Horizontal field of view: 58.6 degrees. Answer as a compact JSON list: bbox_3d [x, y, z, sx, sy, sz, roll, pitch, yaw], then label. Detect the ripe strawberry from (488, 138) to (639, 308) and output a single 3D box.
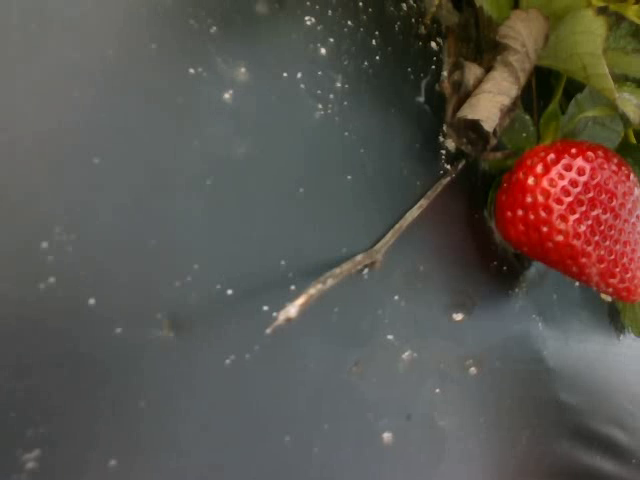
[{"bbox_3d":[0.061,-0.005,0.125,0.037,0.046,0.037,-22,-18,-9],"label":"ripe strawberry"}]
